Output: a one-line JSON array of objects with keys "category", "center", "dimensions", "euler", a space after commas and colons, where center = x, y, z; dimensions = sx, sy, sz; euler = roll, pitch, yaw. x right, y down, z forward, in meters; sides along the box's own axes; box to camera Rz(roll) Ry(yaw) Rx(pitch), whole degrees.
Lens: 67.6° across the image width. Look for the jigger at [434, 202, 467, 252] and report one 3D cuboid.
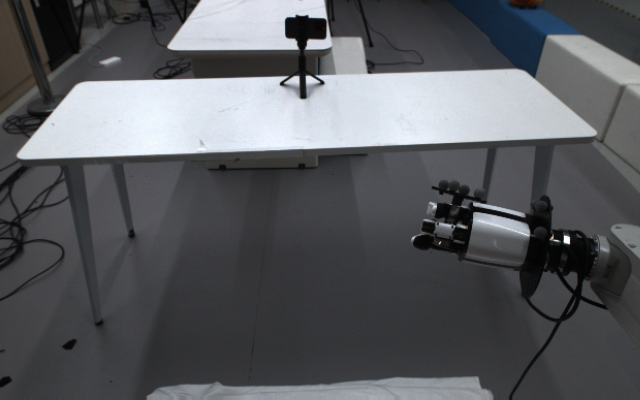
[{"category": "jigger", "center": [0.206, 0.040, 0.765], "dimensions": [0.043, 0.071, 0.043], "euler": [17, 2, -1]}]
